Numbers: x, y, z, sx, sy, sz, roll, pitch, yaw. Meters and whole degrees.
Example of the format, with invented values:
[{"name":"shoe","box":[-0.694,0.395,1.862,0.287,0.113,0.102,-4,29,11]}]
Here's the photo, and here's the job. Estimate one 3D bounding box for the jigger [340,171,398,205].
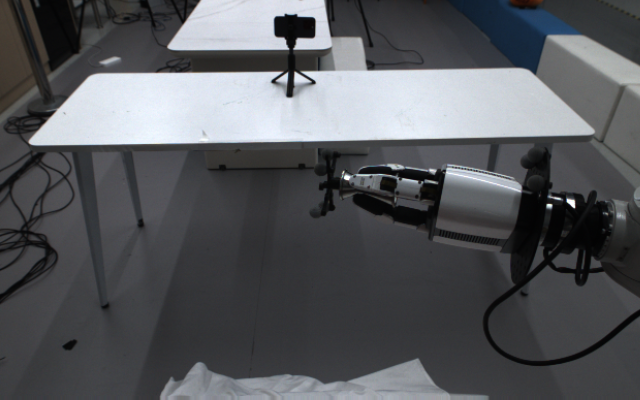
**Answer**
[{"name":"jigger","box":[0.068,-0.018,0.601,0.071,0.043,0.043,7,35,14]}]
